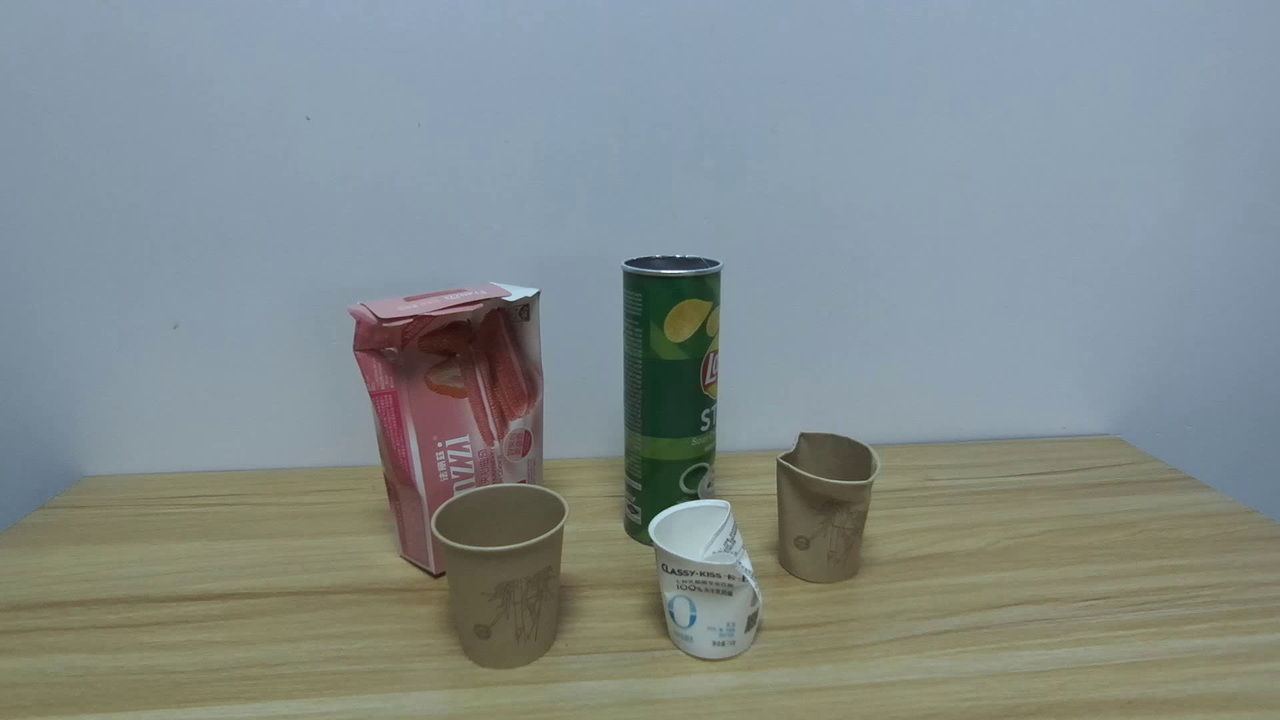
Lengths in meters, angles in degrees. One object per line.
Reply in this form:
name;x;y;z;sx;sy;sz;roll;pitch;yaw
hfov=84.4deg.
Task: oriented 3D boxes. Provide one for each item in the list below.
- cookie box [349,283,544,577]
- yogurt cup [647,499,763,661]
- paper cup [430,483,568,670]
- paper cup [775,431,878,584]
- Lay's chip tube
cookie box;-0.124;0.047;0.487;0.119;0.184;0.055;-16;23;-39
yogurt cup;0.038;0.128;0.409;0.067;0.070;0.067;0;20;0
paper cup;-0.076;0.124;0.402;0.075;0.082;0.075;0;18;0
paper cup;0.126;0.099;0.475;0.066;0.084;0.072;8;19;26
Lay's chip tube;0.022;0.029;0.506;0.071;0.202;0.071;0;17;0
